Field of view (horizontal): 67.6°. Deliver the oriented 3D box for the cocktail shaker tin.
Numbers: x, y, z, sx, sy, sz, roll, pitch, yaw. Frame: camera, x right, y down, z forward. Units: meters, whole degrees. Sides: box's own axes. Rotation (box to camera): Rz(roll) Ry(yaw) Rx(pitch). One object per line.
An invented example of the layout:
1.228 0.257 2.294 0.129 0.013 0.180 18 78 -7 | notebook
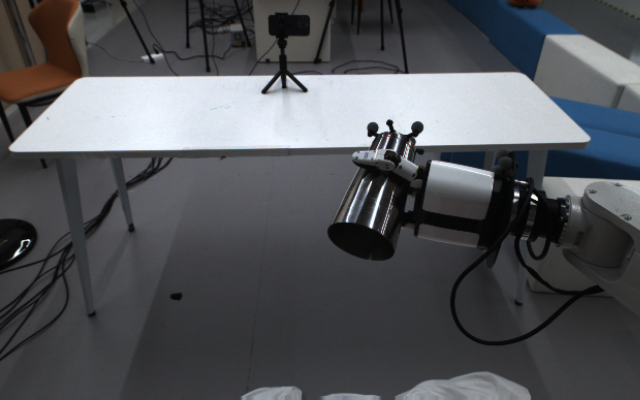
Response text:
0.080 -0.014 0.670 0.093 0.093 0.170 14 57 16 | cocktail shaker tin
